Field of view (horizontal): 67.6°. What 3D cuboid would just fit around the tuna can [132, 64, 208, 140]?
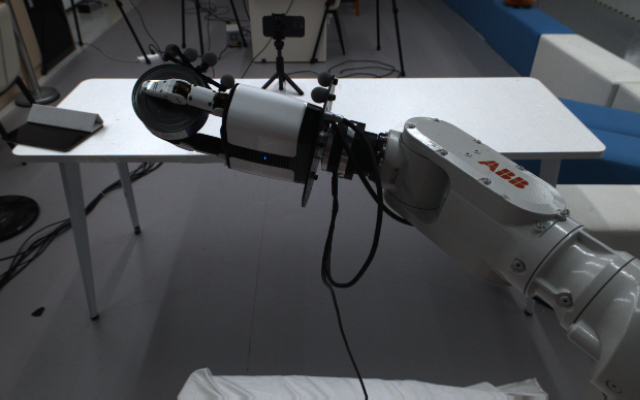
[{"bbox_3d":[-0.176,-0.116,0.580,0.085,0.034,0.085,1,75,-4],"label":"tuna can"}]
